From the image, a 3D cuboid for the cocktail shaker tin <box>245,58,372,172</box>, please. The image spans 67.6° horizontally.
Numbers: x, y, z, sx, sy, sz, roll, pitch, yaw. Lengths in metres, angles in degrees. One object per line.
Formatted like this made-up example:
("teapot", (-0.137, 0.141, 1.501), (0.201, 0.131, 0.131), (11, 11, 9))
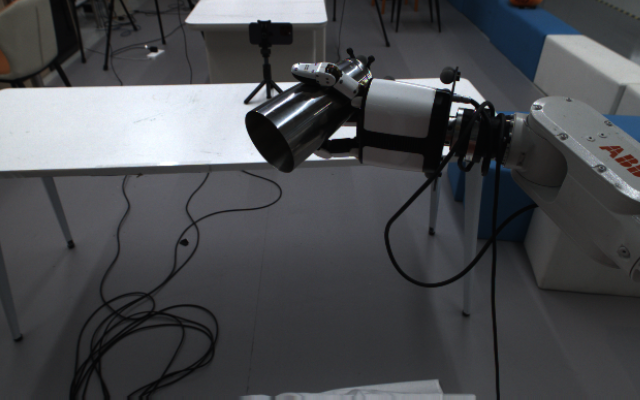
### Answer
("cocktail shaker tin", (-0.005, -0.127, 0.648), (0.170, 0.093, 0.093), (-38, 50, -24))
